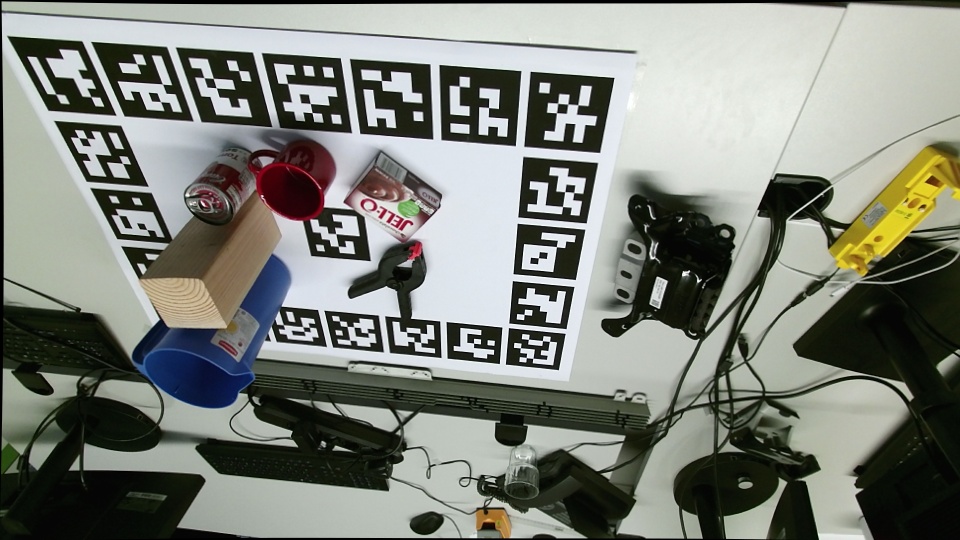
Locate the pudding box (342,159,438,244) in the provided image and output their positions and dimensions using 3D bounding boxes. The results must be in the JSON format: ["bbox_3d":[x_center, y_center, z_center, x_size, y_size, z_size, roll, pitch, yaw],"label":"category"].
[{"bbox_3d":[-0.132,-0.096,0.790,0.114,0.038,0.090,33,122,-21],"label":"pudding box"}]

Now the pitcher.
[{"bbox_3d":[-0.420,0.093,0.844,0.189,0.241,0.133,1,132,2],"label":"pitcher"}]

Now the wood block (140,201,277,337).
[{"bbox_3d":[-0.392,-0.009,0.777,0.090,0.205,0.091,3,130,8],"label":"wood block"}]

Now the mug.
[{"bbox_3d":[-0.275,-0.126,0.749,0.117,0.081,0.093,32,128,-20],"label":"mug"}]

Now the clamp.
[{"bbox_3d":[-0.155,0.024,0.898,0.122,0.036,0.165,31,126,-9],"label":"clamp"}]

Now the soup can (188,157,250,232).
[{"bbox_3d":[-0.370,-0.109,0.759,0.068,0.101,0.068,3,127,4],"label":"soup can"}]
